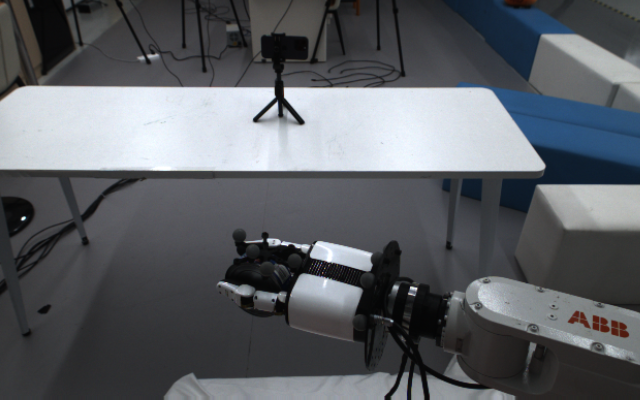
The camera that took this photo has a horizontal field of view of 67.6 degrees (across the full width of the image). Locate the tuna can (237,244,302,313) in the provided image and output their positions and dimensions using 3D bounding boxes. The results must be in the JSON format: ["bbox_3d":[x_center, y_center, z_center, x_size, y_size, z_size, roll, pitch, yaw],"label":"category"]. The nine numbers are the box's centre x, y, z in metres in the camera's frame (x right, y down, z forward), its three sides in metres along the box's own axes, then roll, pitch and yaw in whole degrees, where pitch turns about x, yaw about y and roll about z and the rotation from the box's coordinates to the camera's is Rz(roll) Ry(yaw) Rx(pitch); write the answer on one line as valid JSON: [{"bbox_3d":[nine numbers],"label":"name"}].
[{"bbox_3d":[-0.076,0.107,0.632,0.085,0.085,0.034,16,29,19],"label":"tuna can"}]
